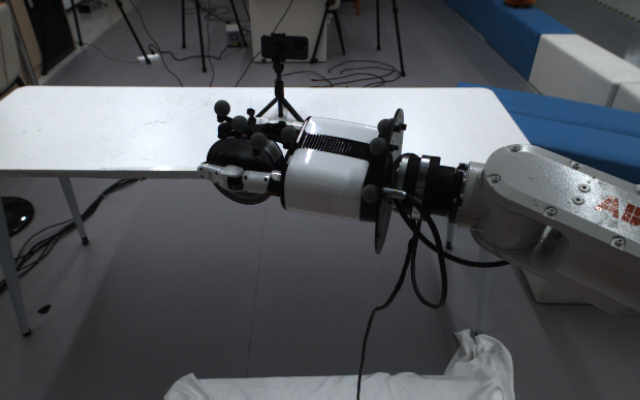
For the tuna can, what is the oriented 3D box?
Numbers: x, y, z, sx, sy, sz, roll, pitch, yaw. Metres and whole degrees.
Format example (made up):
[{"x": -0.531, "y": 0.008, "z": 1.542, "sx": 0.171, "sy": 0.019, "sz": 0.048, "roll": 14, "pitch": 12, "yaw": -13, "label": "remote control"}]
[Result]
[{"x": -0.082, "y": -0.040, "z": 0.556, "sx": 0.085, "sy": 0.085, "sz": 0.034, "roll": 12, "pitch": 33, "yaw": 14, "label": "tuna can"}]
